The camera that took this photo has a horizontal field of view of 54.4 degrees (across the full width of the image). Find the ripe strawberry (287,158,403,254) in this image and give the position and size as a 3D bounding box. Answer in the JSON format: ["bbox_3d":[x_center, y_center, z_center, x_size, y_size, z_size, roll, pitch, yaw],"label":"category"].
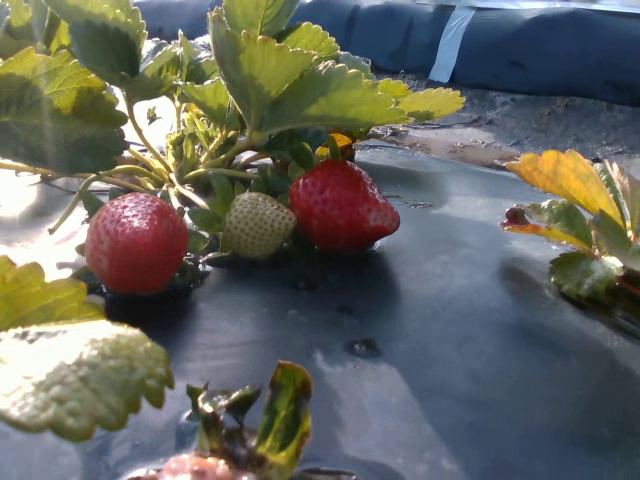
[{"bbox_3d":[0.014,-0.015,0.279,0.064,0.049,0.050,34,-8,40],"label":"ripe strawberry"}]
